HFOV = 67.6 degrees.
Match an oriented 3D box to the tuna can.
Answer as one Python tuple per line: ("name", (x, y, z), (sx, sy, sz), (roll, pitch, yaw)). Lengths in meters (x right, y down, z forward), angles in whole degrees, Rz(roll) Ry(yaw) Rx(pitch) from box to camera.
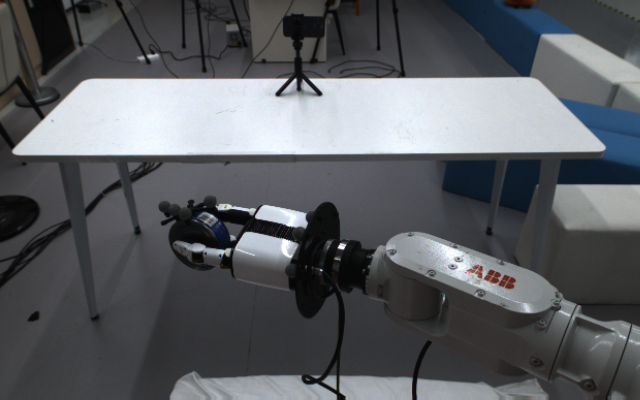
("tuna can", (-0.170, 0.061, 0.708), (0.085, 0.085, 0.034), (12, 28, 15))
